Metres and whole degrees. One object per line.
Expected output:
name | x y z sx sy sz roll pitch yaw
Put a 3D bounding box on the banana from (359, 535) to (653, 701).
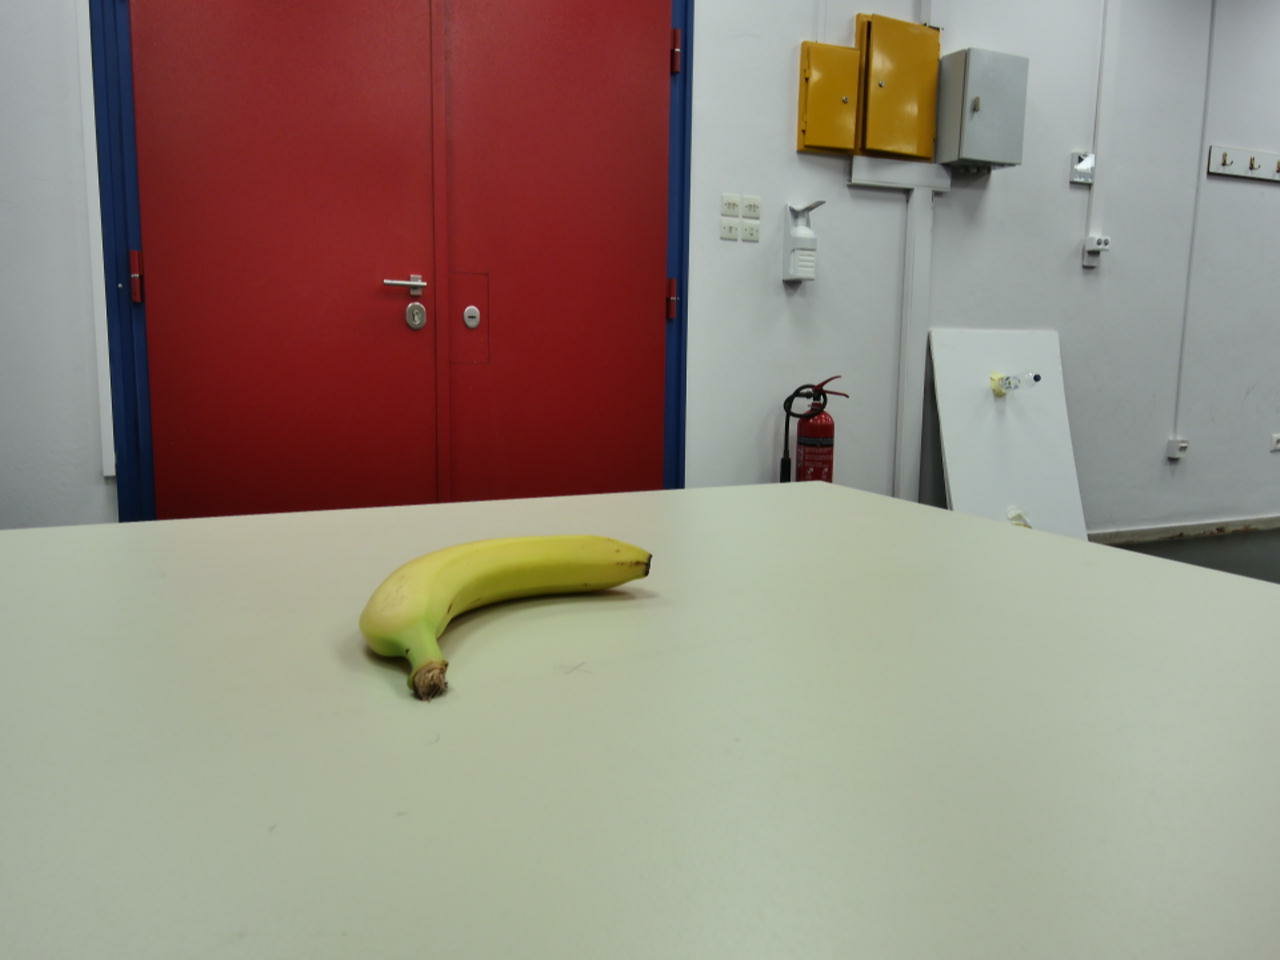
banana | -0.076 0.056 0.503 0.094 0.041 0.196 4 7 29
